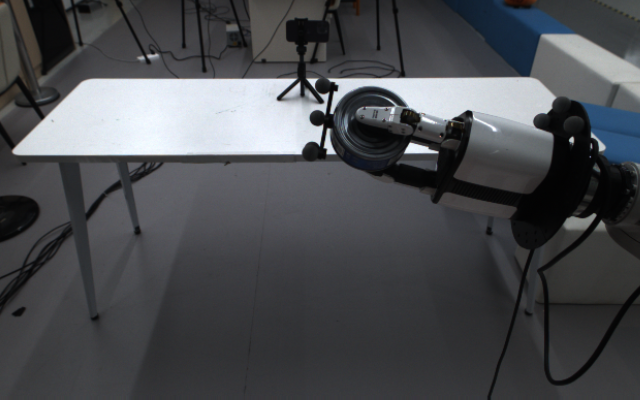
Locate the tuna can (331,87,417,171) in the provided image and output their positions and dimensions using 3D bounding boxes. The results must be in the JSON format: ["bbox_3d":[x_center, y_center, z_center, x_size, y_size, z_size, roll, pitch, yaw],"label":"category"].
[{"bbox_3d":[0.058,-0.072,0.511,0.085,0.034,0.085,2,73,-5],"label":"tuna can"}]
